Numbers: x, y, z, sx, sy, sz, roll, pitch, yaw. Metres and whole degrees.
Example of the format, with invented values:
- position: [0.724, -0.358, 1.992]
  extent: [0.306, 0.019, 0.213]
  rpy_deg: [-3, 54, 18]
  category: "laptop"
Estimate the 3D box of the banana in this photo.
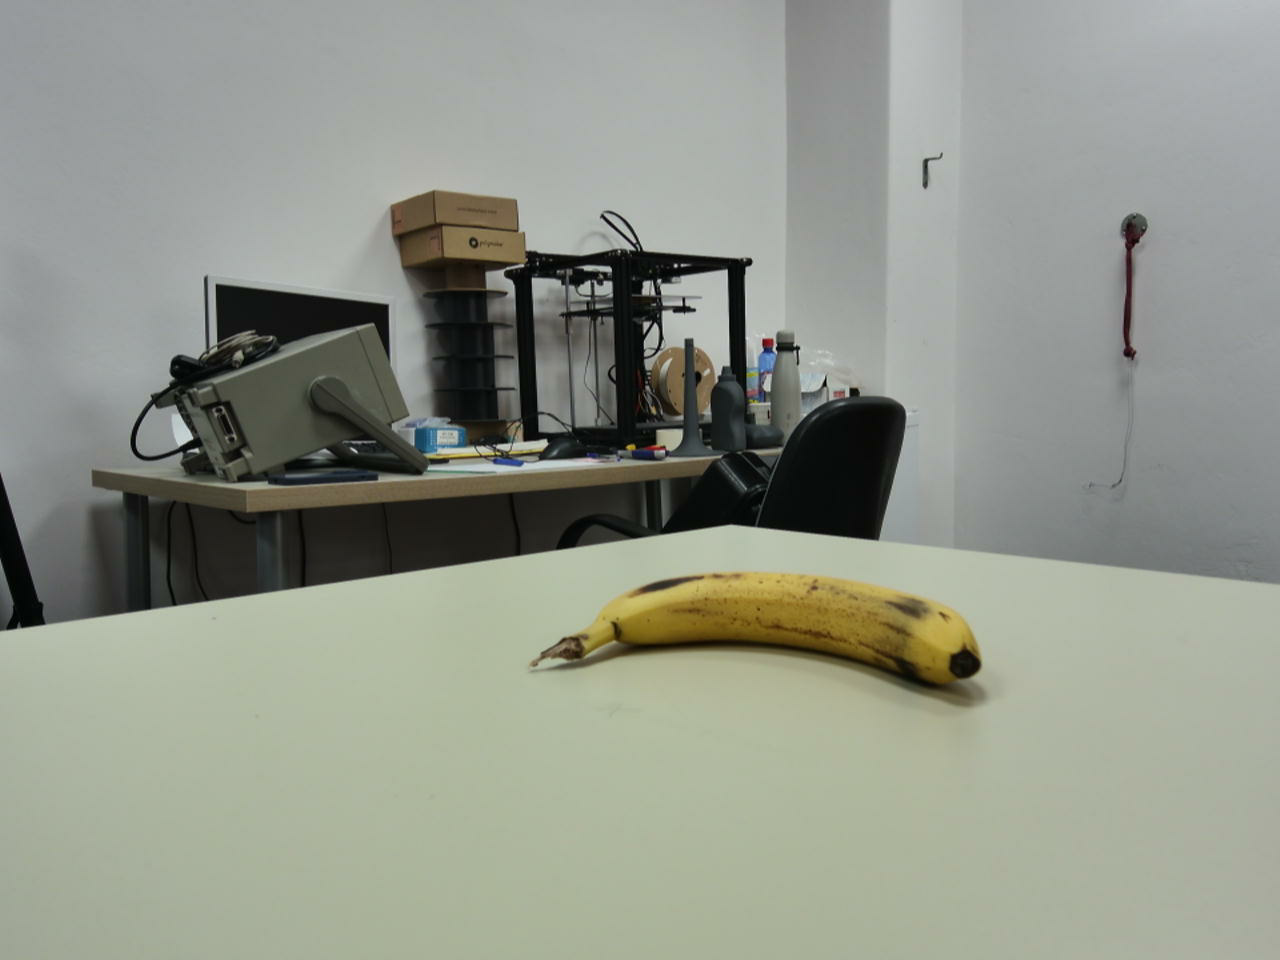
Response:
- position: [0.060, 0.066, 0.467]
  extent: [0.186, 0.038, 0.097]
  rpy_deg: [2, 3, 22]
  category: "banana"
